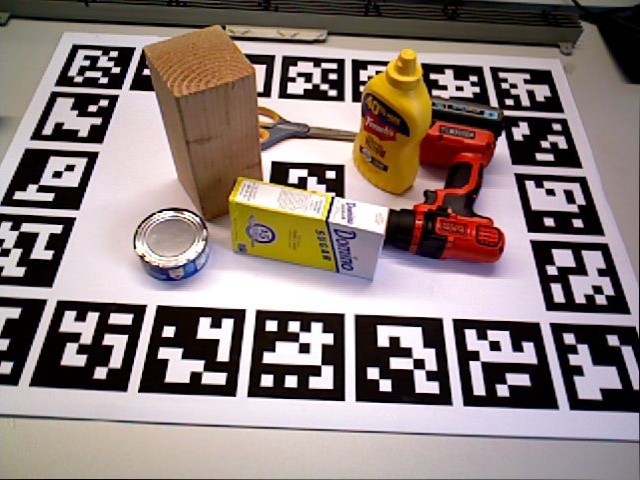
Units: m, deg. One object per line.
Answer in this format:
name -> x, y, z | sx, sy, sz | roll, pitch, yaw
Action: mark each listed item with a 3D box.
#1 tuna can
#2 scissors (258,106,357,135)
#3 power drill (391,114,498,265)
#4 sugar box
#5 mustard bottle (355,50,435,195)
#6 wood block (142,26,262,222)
tuna can -> -0.174, 0.002, 0.631 | 0.085, 0.034, 0.084 | 1, 59, -3
scissors -> -0.050, -0.159, 0.750 | 0.202, 0.016, 0.086 | 4, 54, 1
power drill -> 0.134, -0.067, 0.676 | 0.184, 0.058, 0.184 | 14, 66, 7
sugar box -> -0.008, -0.010, 0.616 | 0.176, 0.095, 0.044 | 14, 54, 4
mustard bottle -> 0.092, -0.145, 0.652 | 0.057, 0.195, 0.096 | -34, 66, -21
wood block -> -0.127, -0.127, 0.625 | 0.090, 0.210, 0.089 | -22, 62, -17
